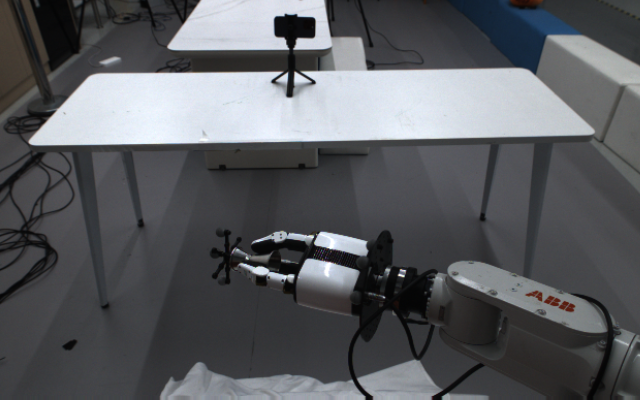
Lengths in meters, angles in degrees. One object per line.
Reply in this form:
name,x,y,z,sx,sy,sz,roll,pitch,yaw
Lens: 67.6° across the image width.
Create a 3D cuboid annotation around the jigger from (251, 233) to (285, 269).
jigger,-0.094,0.093,0.750,0.071,0.043,0.043,5,34,22
